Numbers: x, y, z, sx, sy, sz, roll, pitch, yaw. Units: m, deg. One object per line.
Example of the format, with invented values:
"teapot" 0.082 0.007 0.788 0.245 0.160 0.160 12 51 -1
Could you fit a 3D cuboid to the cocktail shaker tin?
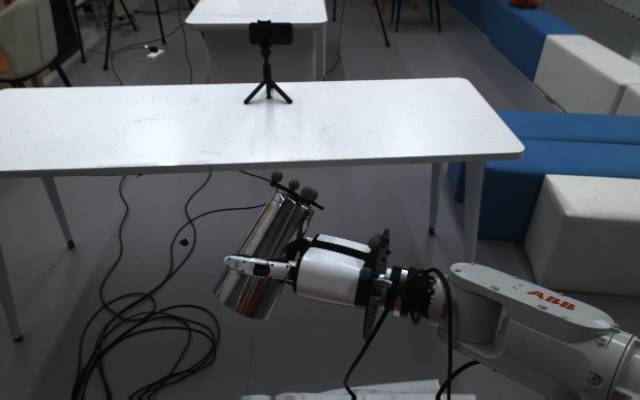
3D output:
"cocktail shaker tin" -0.075 0.075 0.702 0.093 0.170 0.093 27 2 -1
